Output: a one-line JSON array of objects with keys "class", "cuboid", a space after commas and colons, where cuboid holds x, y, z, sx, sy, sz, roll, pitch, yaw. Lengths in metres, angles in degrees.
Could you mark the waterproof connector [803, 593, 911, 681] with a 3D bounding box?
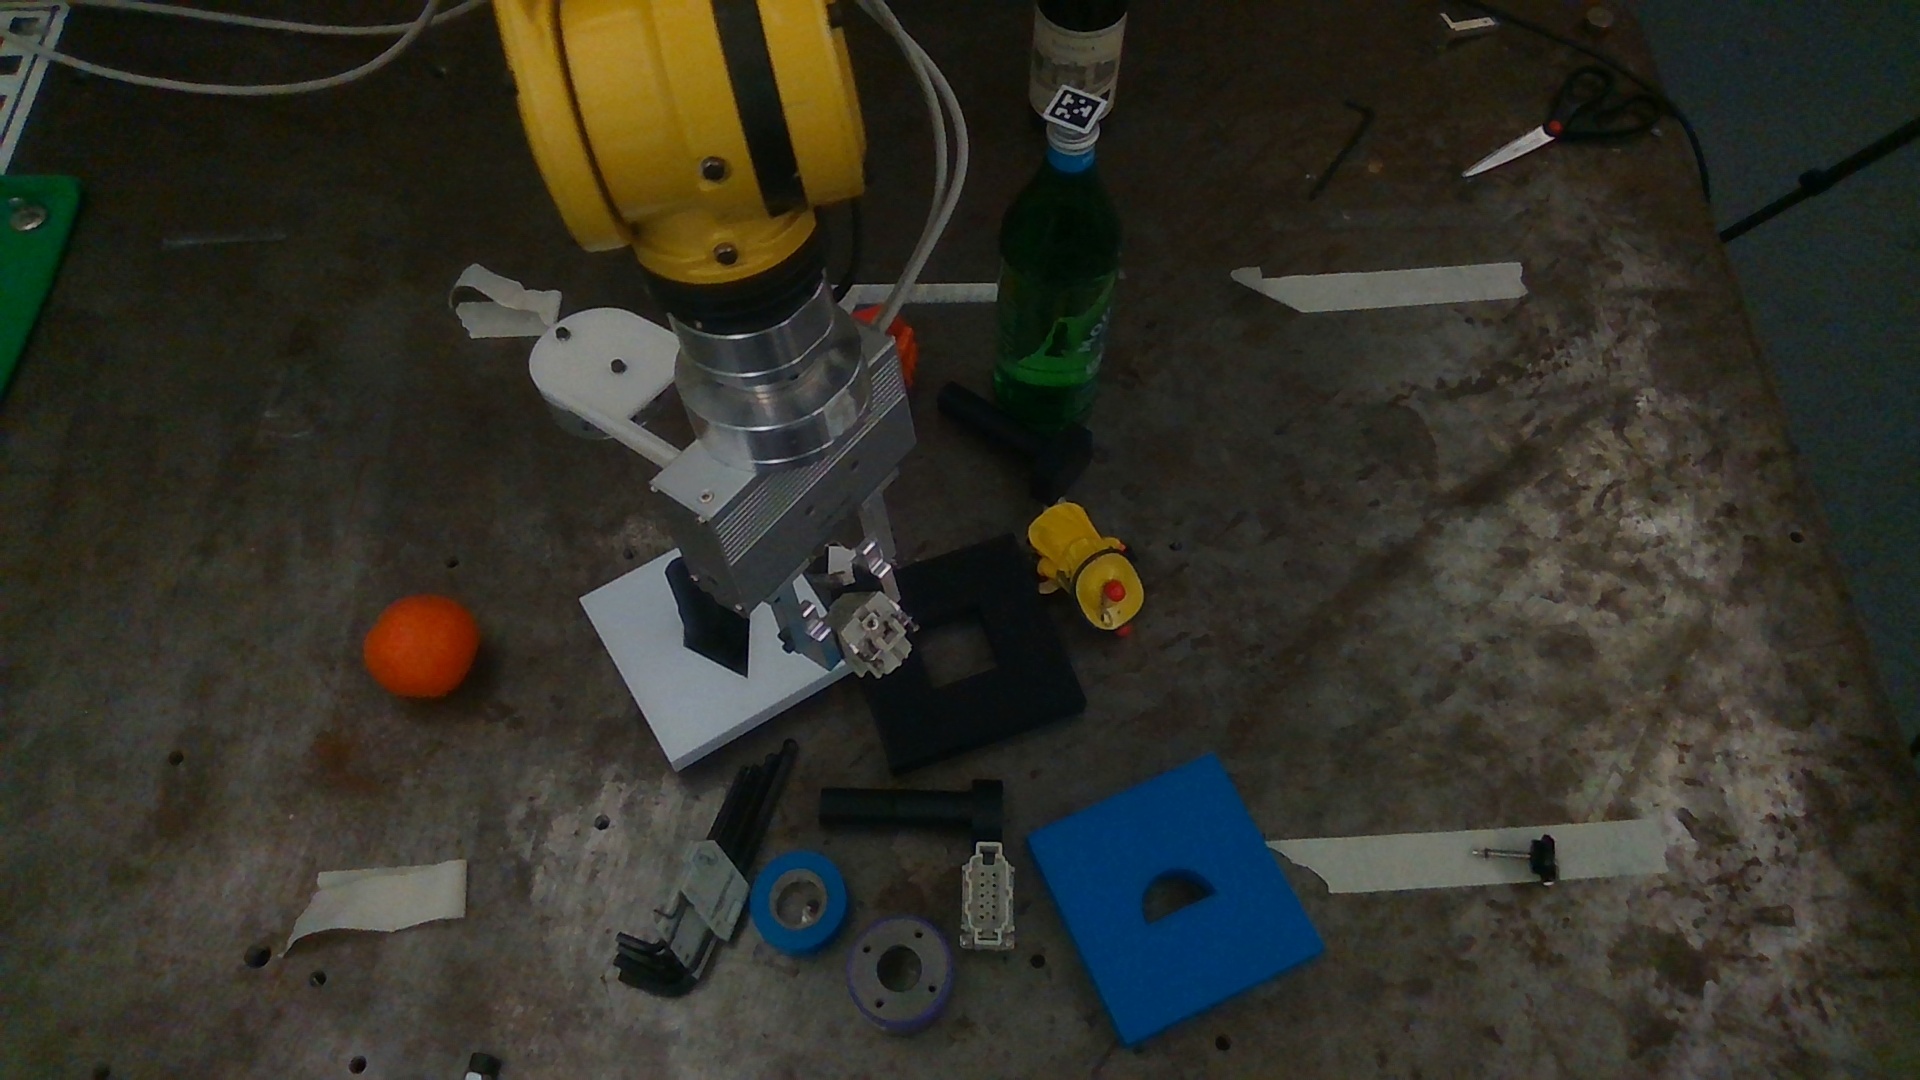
[{"class": "waterproof connector", "cuboid": [-0.053, 0.053, 0.747, 0.038, 0.069, 0.036, 48, 66, -17]}]
